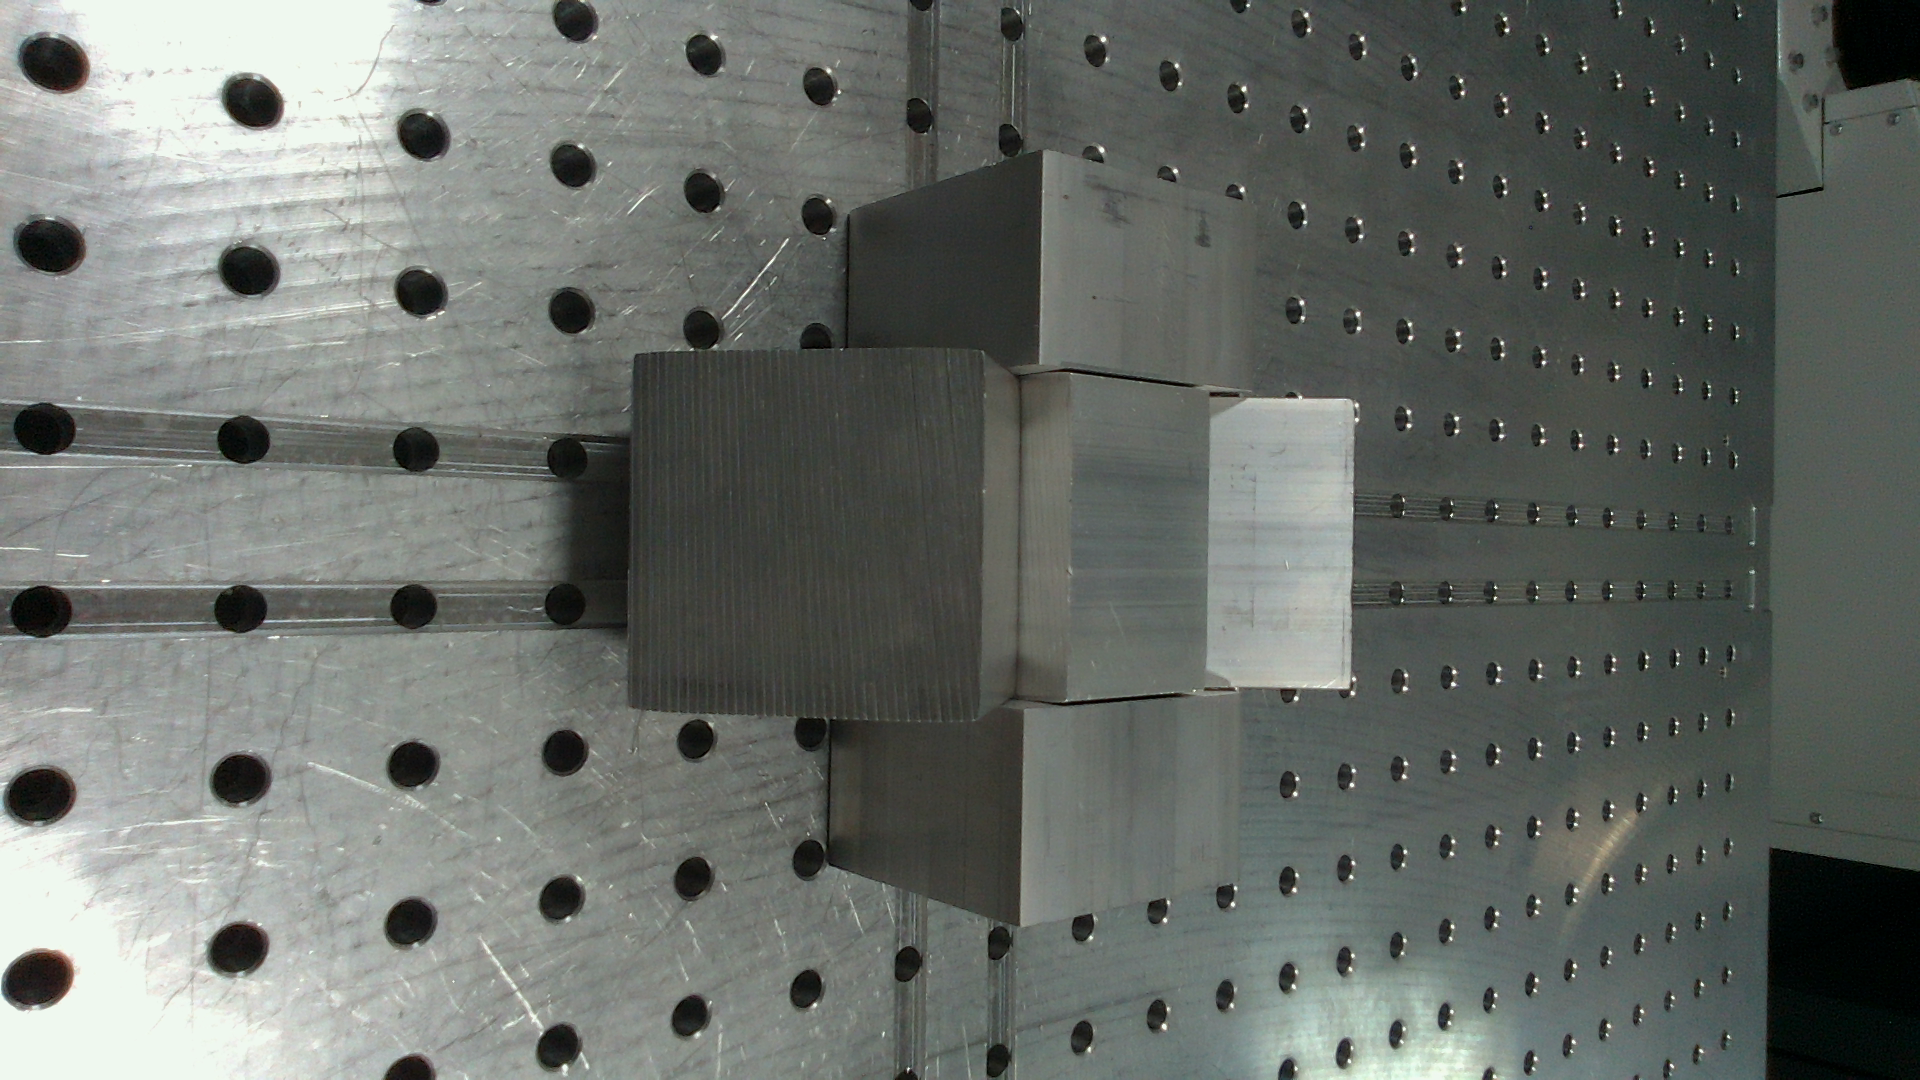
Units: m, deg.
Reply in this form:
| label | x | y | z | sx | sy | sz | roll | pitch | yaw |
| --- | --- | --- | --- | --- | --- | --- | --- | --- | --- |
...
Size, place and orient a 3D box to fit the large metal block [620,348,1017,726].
| label | x | y | z | sx | sy | sz | roll | pitch | yaw |
| --- | --- | --- | --- | --- | --- | --- | --- | --- | --- |
| large metal block | -0.031 | -0.001 | 0.323 | 0.050 | 0.080 | 0.080 | 1 | 90 | -79 |

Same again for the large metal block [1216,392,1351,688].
| label | x | y | z | sx | sy | sz | roll | pitch | yaw |
| --- | --- | --- | --- | --- | --- | --- | --- | --- | --- |
| large metal block | 0.079 | 0.001 | 0.411 | 0.050 | 0.080 | 0.080 | 1 | 89 | -2 |

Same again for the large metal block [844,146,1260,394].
| label | x | y | z | sx | sy | sz | roll | pitch | yaw |
| --- | --- | --- | --- | --- | --- | --- | --- | --- | --- |
| large metal block | 0.024 | -0.066 | 0.375 | 0.080 | 0.080 | 0.050 | 1 | 89 | -40 |

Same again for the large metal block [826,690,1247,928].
| label | x | y | z | sx | sy | sz | roll | pitch | yaw |
| --- | --- | --- | --- | --- | --- | --- | --- | --- | --- |
| large metal block | 0.020 | 0.065 | 0.372 | 0.080 | 0.080 | 0.050 | 1 | 89 | -40 |

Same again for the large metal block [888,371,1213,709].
| label | x | y | z | sx | sy | sz | roll | pitch | yaw |
| --- | --- | --- | --- | --- | --- | --- | --- | --- | --- |
| large metal block | 0.020 | 0.000 | 0.372 | 0.050 | 0.080 | 0.080 | 1 | 89 | -40 |
